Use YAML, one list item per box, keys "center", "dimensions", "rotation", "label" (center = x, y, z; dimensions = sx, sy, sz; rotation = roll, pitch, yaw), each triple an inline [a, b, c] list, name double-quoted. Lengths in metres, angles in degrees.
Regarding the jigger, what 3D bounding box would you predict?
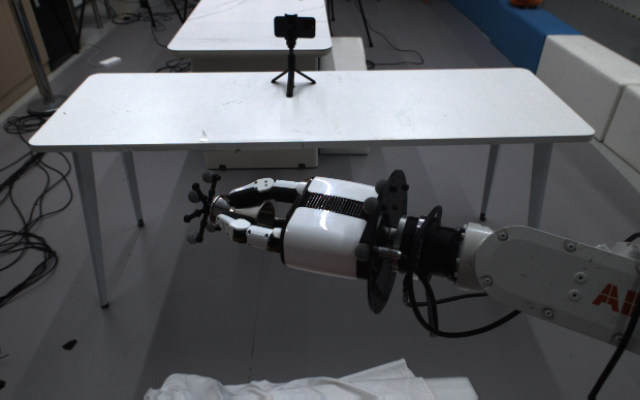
- center: [-0.090, 0.016, 0.595]
  dimensions: [0.071, 0.043, 0.043]
  rotation: [10, 35, 22]
  label: "jigger"
